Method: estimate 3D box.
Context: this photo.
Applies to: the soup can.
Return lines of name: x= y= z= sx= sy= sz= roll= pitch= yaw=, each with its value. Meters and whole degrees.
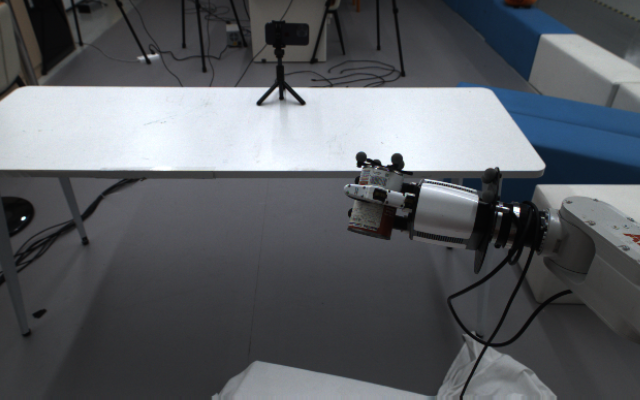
soup can: x=0.087 y=0.005 z=0.742 sx=0.067 sy=0.101 sz=0.067 roll=13 pitch=-6 yaw=1
